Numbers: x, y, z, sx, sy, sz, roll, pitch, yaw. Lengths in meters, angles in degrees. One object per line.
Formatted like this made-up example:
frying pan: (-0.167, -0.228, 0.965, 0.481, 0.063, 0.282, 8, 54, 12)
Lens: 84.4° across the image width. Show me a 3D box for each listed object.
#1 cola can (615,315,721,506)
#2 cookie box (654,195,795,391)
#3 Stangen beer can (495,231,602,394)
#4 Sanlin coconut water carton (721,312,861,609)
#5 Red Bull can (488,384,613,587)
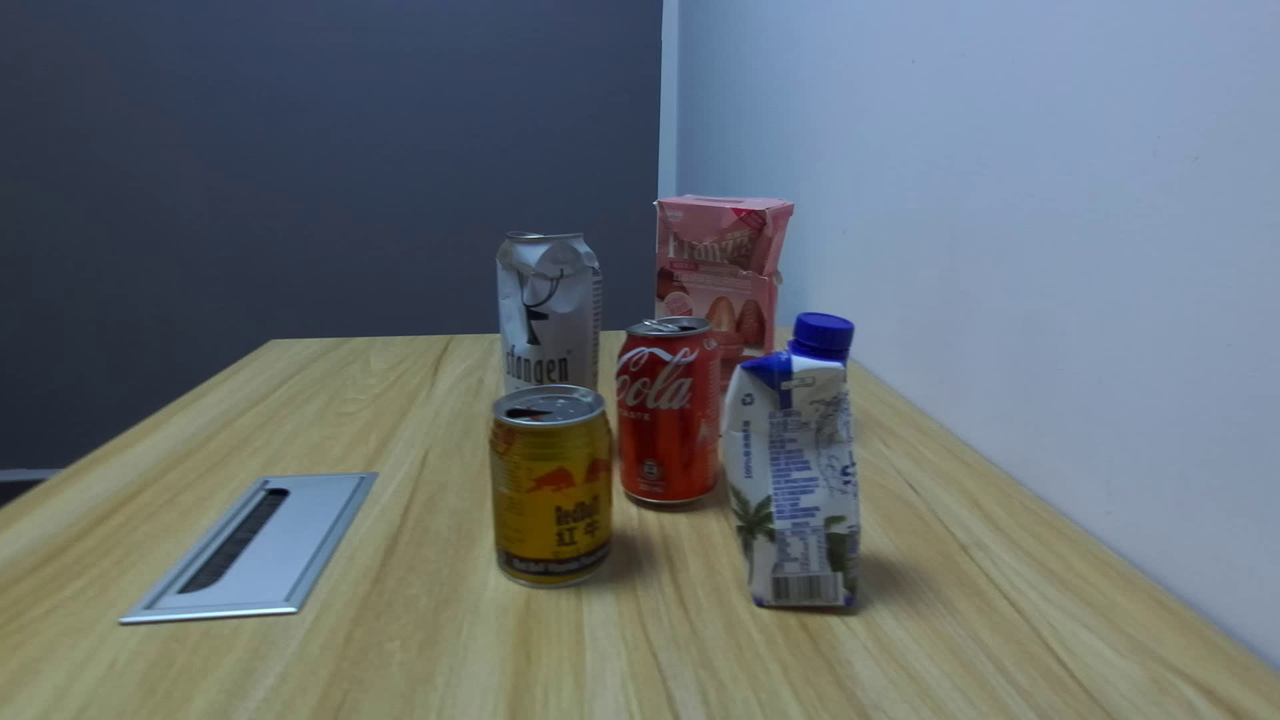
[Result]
cola can: (0.020, 0.032, 0.463, 0.072, 0.117, 0.065, -17, 26, -42)
cookie box: (0.062, -0.033, 0.561, 0.104, 0.186, 0.059, 11, 22, 32)
Stangen beer can: (-0.066, -0.009, 0.517, 0.066, 0.166, 0.065, -11, 18, -32)
Sanlin coconut water carton: (0.077, 0.048, 0.363, 0.068, 0.144, 0.057, -5, 10, 6)
Red Bull can: (-0.048, 0.068, 0.390, 0.067, 0.093, 0.067, 0, 17, 0)
